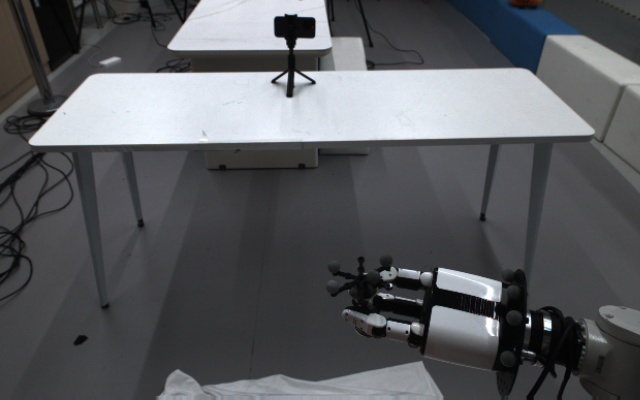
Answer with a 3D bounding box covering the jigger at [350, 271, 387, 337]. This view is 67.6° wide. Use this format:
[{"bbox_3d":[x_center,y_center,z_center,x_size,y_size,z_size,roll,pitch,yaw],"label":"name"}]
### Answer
[{"bbox_3d":[0.064,0.144,0.655,0.043,0.071,0.043,-10,32,6],"label":"jigger"}]
